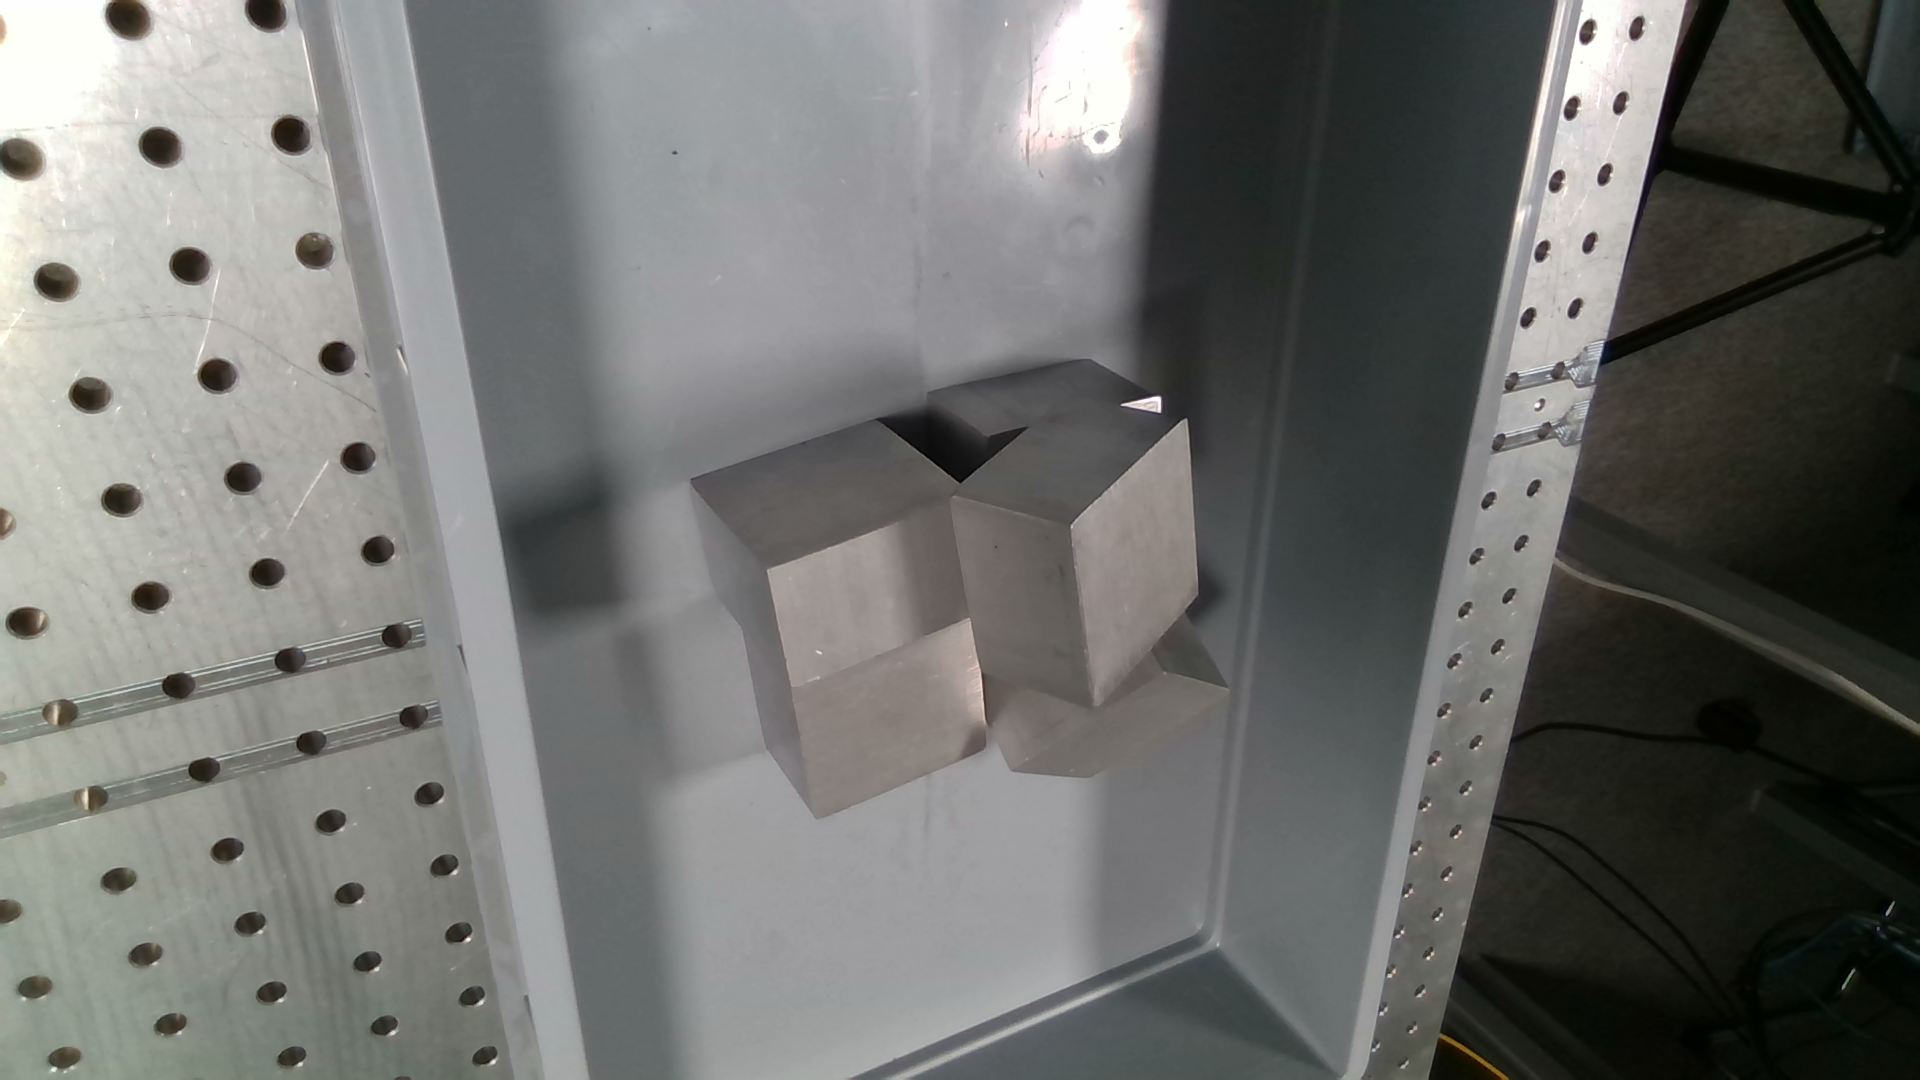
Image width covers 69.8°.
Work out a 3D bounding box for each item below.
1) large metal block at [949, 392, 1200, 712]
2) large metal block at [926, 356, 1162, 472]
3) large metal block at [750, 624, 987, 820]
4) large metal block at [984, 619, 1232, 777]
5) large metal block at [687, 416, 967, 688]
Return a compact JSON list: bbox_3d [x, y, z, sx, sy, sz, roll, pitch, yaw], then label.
[{"bbox_3d":[0.045,0.002,0.508,0.080,0.050,0.080,-41,134,-39],"label":"large metal block"},{"bbox_3d":[0.034,-0.024,0.571,0.080,0.050,0.080,-15,122,-24],"label":"large metal block"},{"bbox_3d":[-0.039,0.056,0.567,0.080,0.050,0.080,-19,124,-22],"label":"large metal block"},{"bbox_3d":[0.060,0.060,0.600,0.080,0.050,0.080,-36,154,19],"label":"large metal block"},{"bbox_3d":[-0.046,0.001,0.516,0.080,0.080,0.050,-20,124,-21],"label":"large metal block"}]
